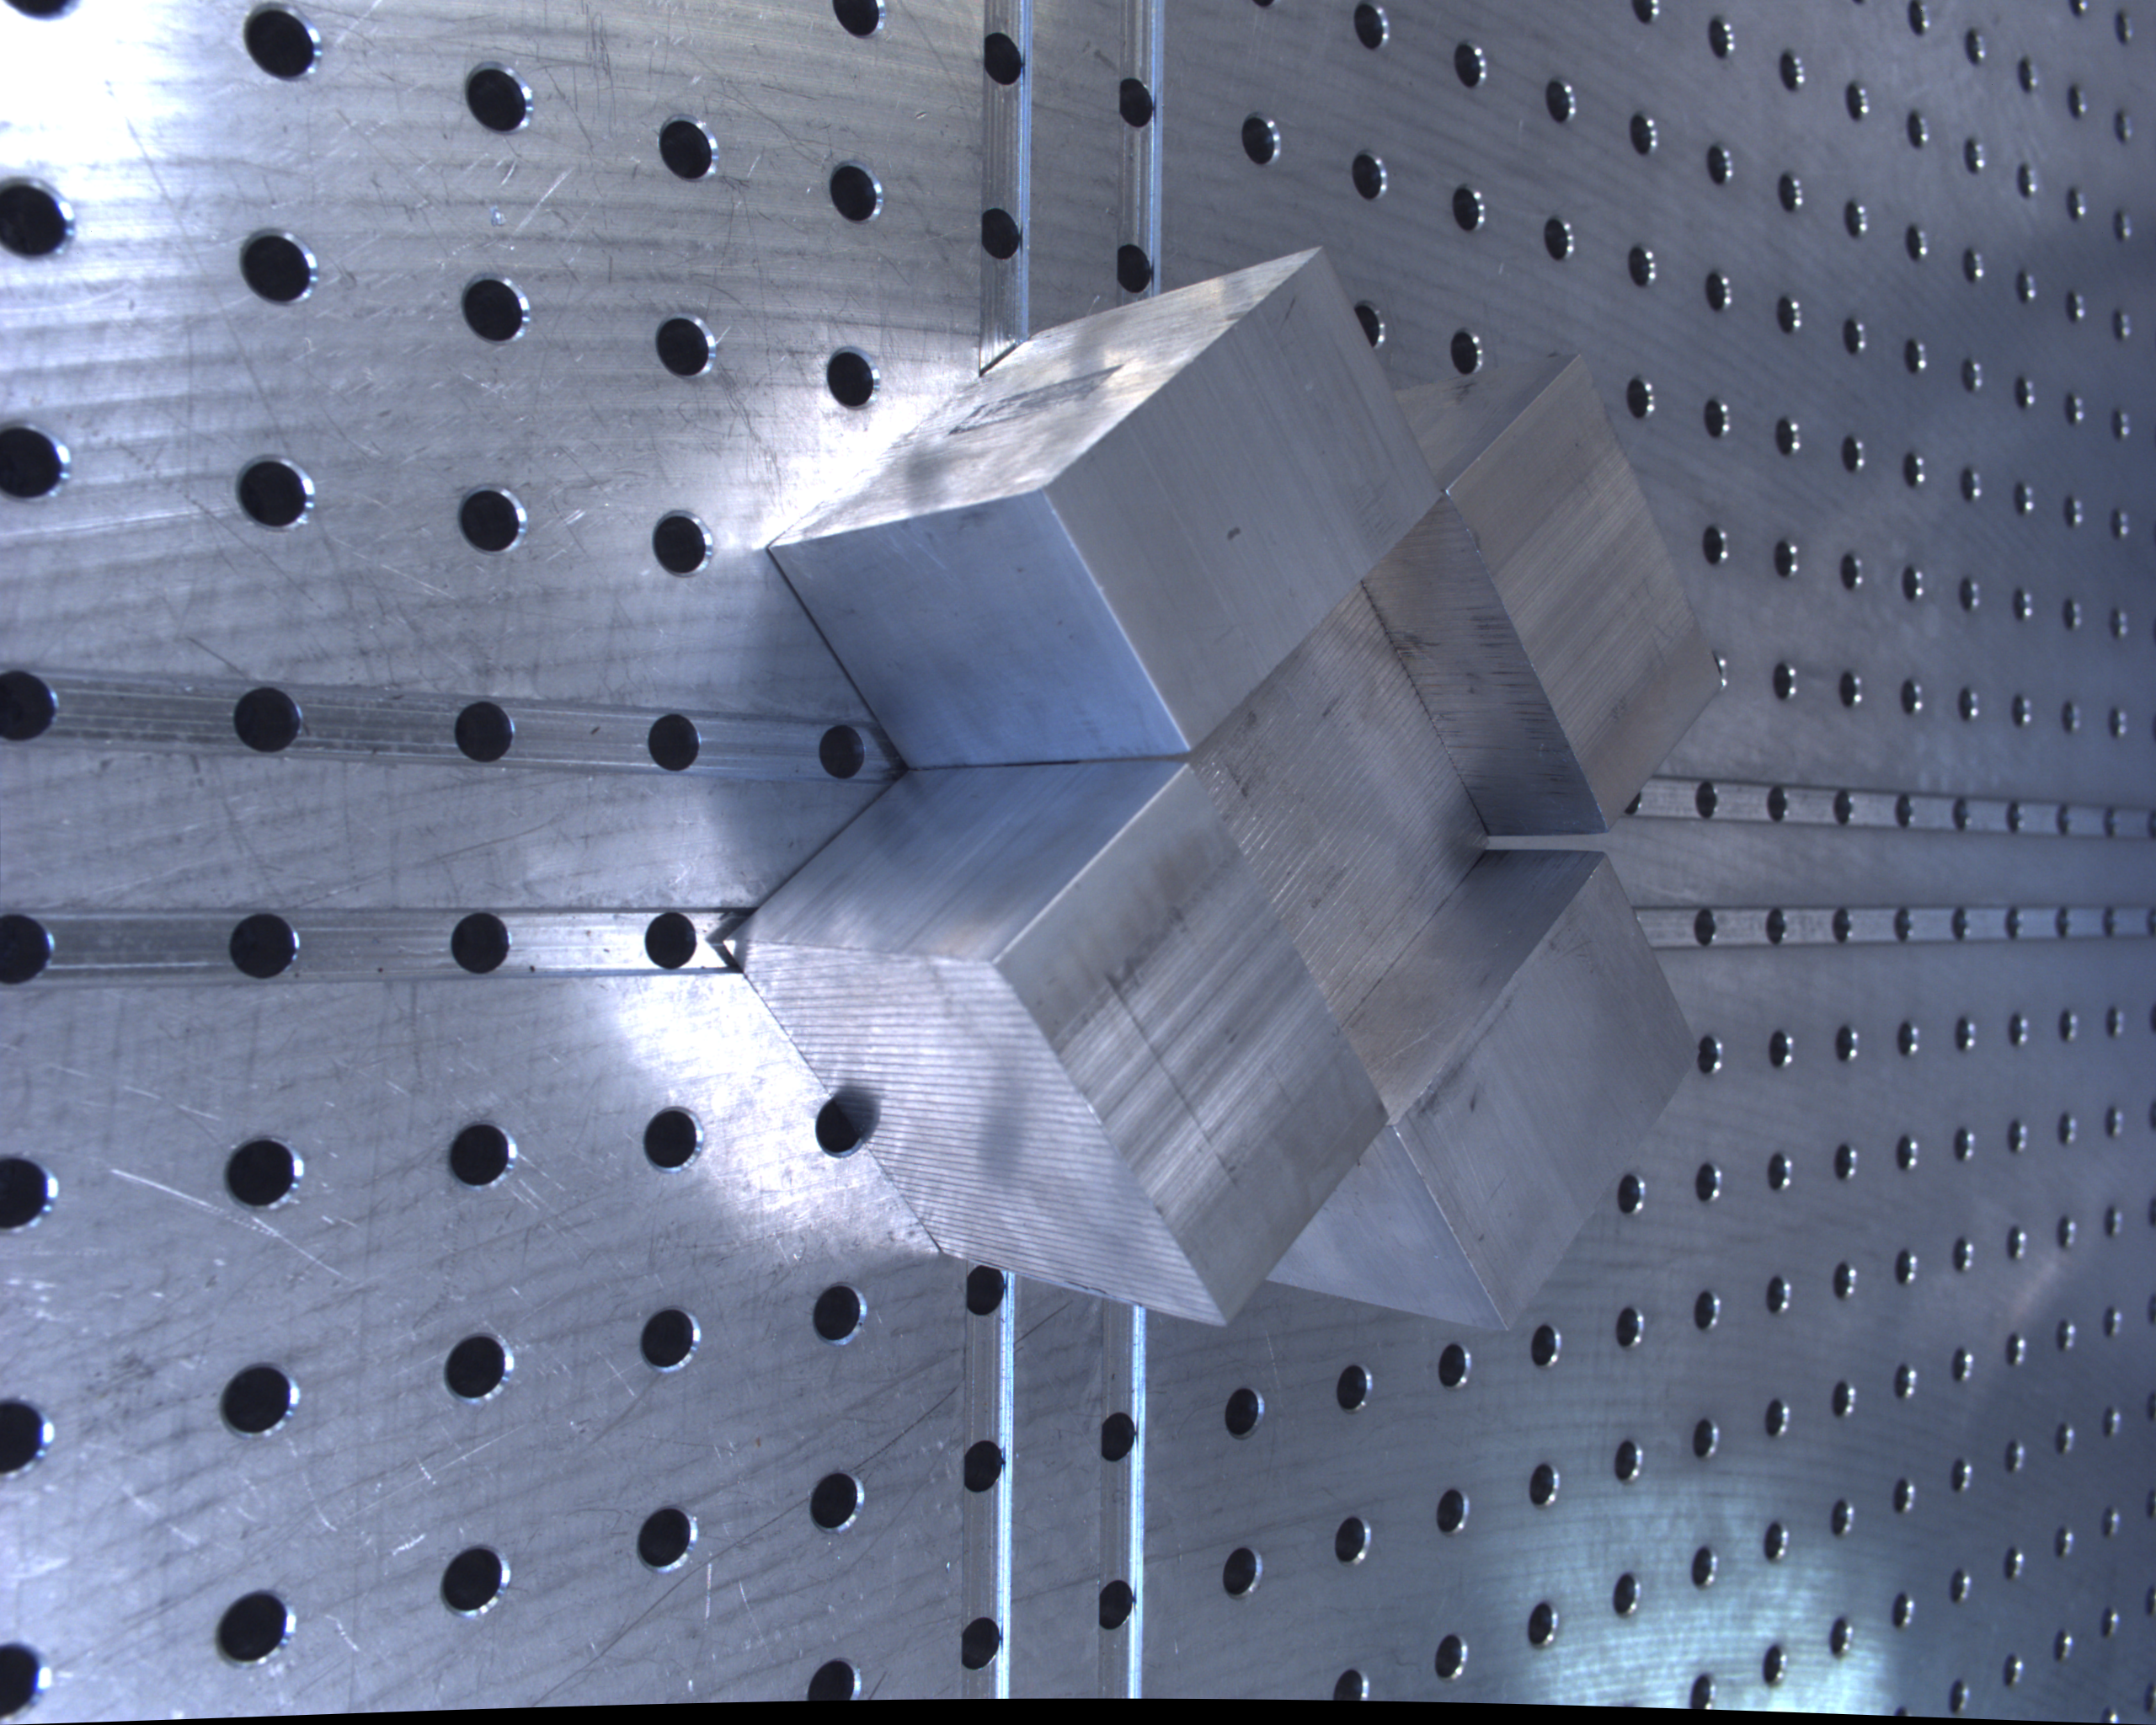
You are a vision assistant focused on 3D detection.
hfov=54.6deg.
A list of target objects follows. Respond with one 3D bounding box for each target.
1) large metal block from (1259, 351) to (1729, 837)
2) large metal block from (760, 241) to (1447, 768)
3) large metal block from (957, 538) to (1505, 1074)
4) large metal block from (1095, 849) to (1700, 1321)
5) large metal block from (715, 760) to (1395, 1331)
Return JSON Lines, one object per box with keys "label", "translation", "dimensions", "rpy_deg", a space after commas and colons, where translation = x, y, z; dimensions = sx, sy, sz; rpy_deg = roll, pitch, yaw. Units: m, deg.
{"label": "large metal block", "translation": [0.075, -0.052, 0.435], "dimensions": [0.050, 0.080, 0.080], "rpy_deg": [-46, 118, -30]}
{"label": "large metal block", "translation": [0.005, -0.062, 0.376], "dimensions": [0.080, 0.080, 0.050], "rpy_deg": [-46, 118, -30]}
{"label": "large metal block", "translation": [0.027, -0.011, 0.413], "dimensions": [0.080, 0.050, 0.080], "rpy_deg": [-45, 116, -28]}
{"label": "large metal block", "translation": [0.066, 0.041, 0.429], "dimensions": [0.080, 0.080, 0.050], "rpy_deg": [-44, 117, -31]}
{"label": "large metal block", "translation": [-0.004, 0.030, 0.368], "dimensions": [0.050, 0.080, 0.080], "rpy_deg": [-46, 118, -30]}
